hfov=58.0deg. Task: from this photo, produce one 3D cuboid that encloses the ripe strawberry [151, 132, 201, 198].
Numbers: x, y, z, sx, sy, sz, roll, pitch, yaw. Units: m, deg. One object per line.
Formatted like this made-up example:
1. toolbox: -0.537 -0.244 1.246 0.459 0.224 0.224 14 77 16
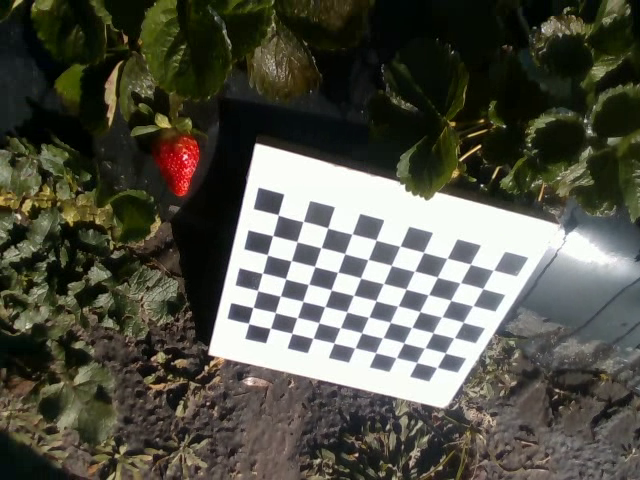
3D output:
1. ripe strawberry: -0.128 -0.067 0.509 0.048 0.069 0.040 0 28 5
